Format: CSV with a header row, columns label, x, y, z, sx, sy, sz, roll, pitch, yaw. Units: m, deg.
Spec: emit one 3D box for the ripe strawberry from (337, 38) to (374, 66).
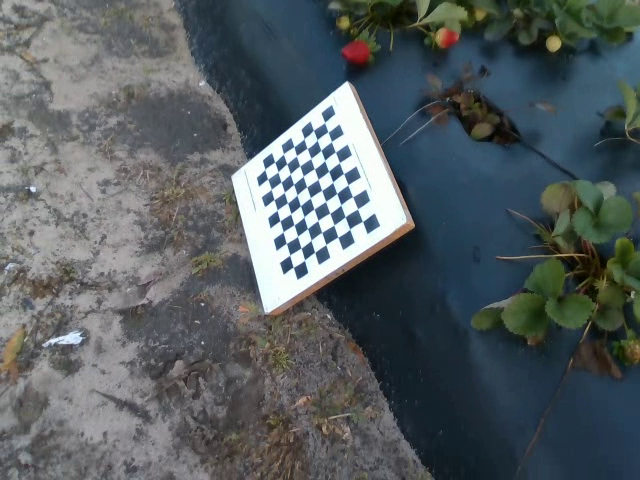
label,x,y,z,sx,sy,sz,roll,pitch,yaw
ripe strawberry,0.054,-0.307,1.135,0.054,0.042,0.045,-10,12,-43
